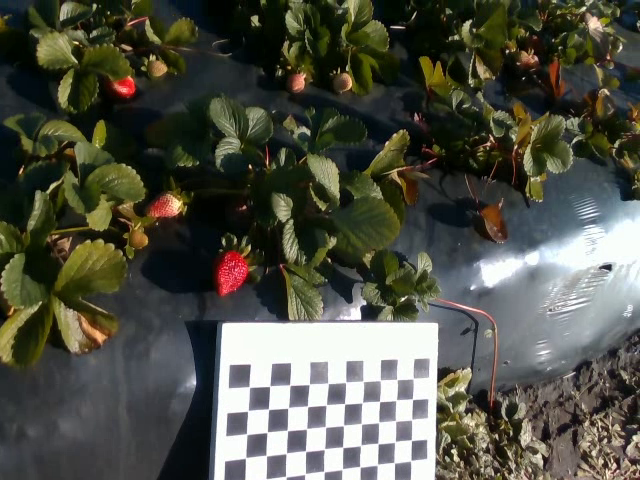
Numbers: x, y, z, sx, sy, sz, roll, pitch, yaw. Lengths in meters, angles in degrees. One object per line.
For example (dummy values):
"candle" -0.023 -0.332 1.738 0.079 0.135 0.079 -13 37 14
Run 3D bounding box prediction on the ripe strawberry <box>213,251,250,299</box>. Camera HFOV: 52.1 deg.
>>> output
"ripe strawberry" -0.099 0.039 0.678 0.058 0.066 0.062 -36 21 8
